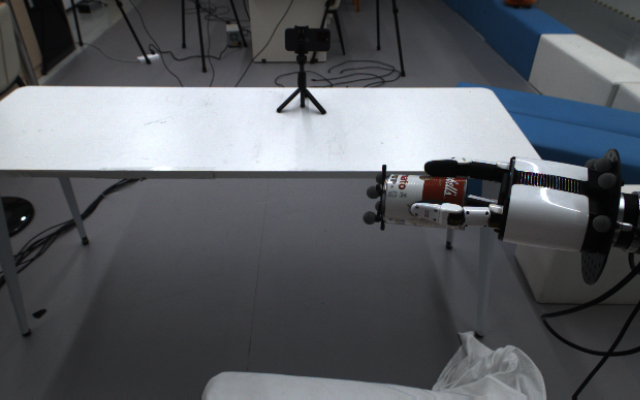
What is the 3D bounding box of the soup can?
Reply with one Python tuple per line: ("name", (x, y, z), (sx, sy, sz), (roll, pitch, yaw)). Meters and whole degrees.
("soup can", (0.140, 0.001, 0.630), (0.101, 0.067, 0.067), (4, 34, 19))
